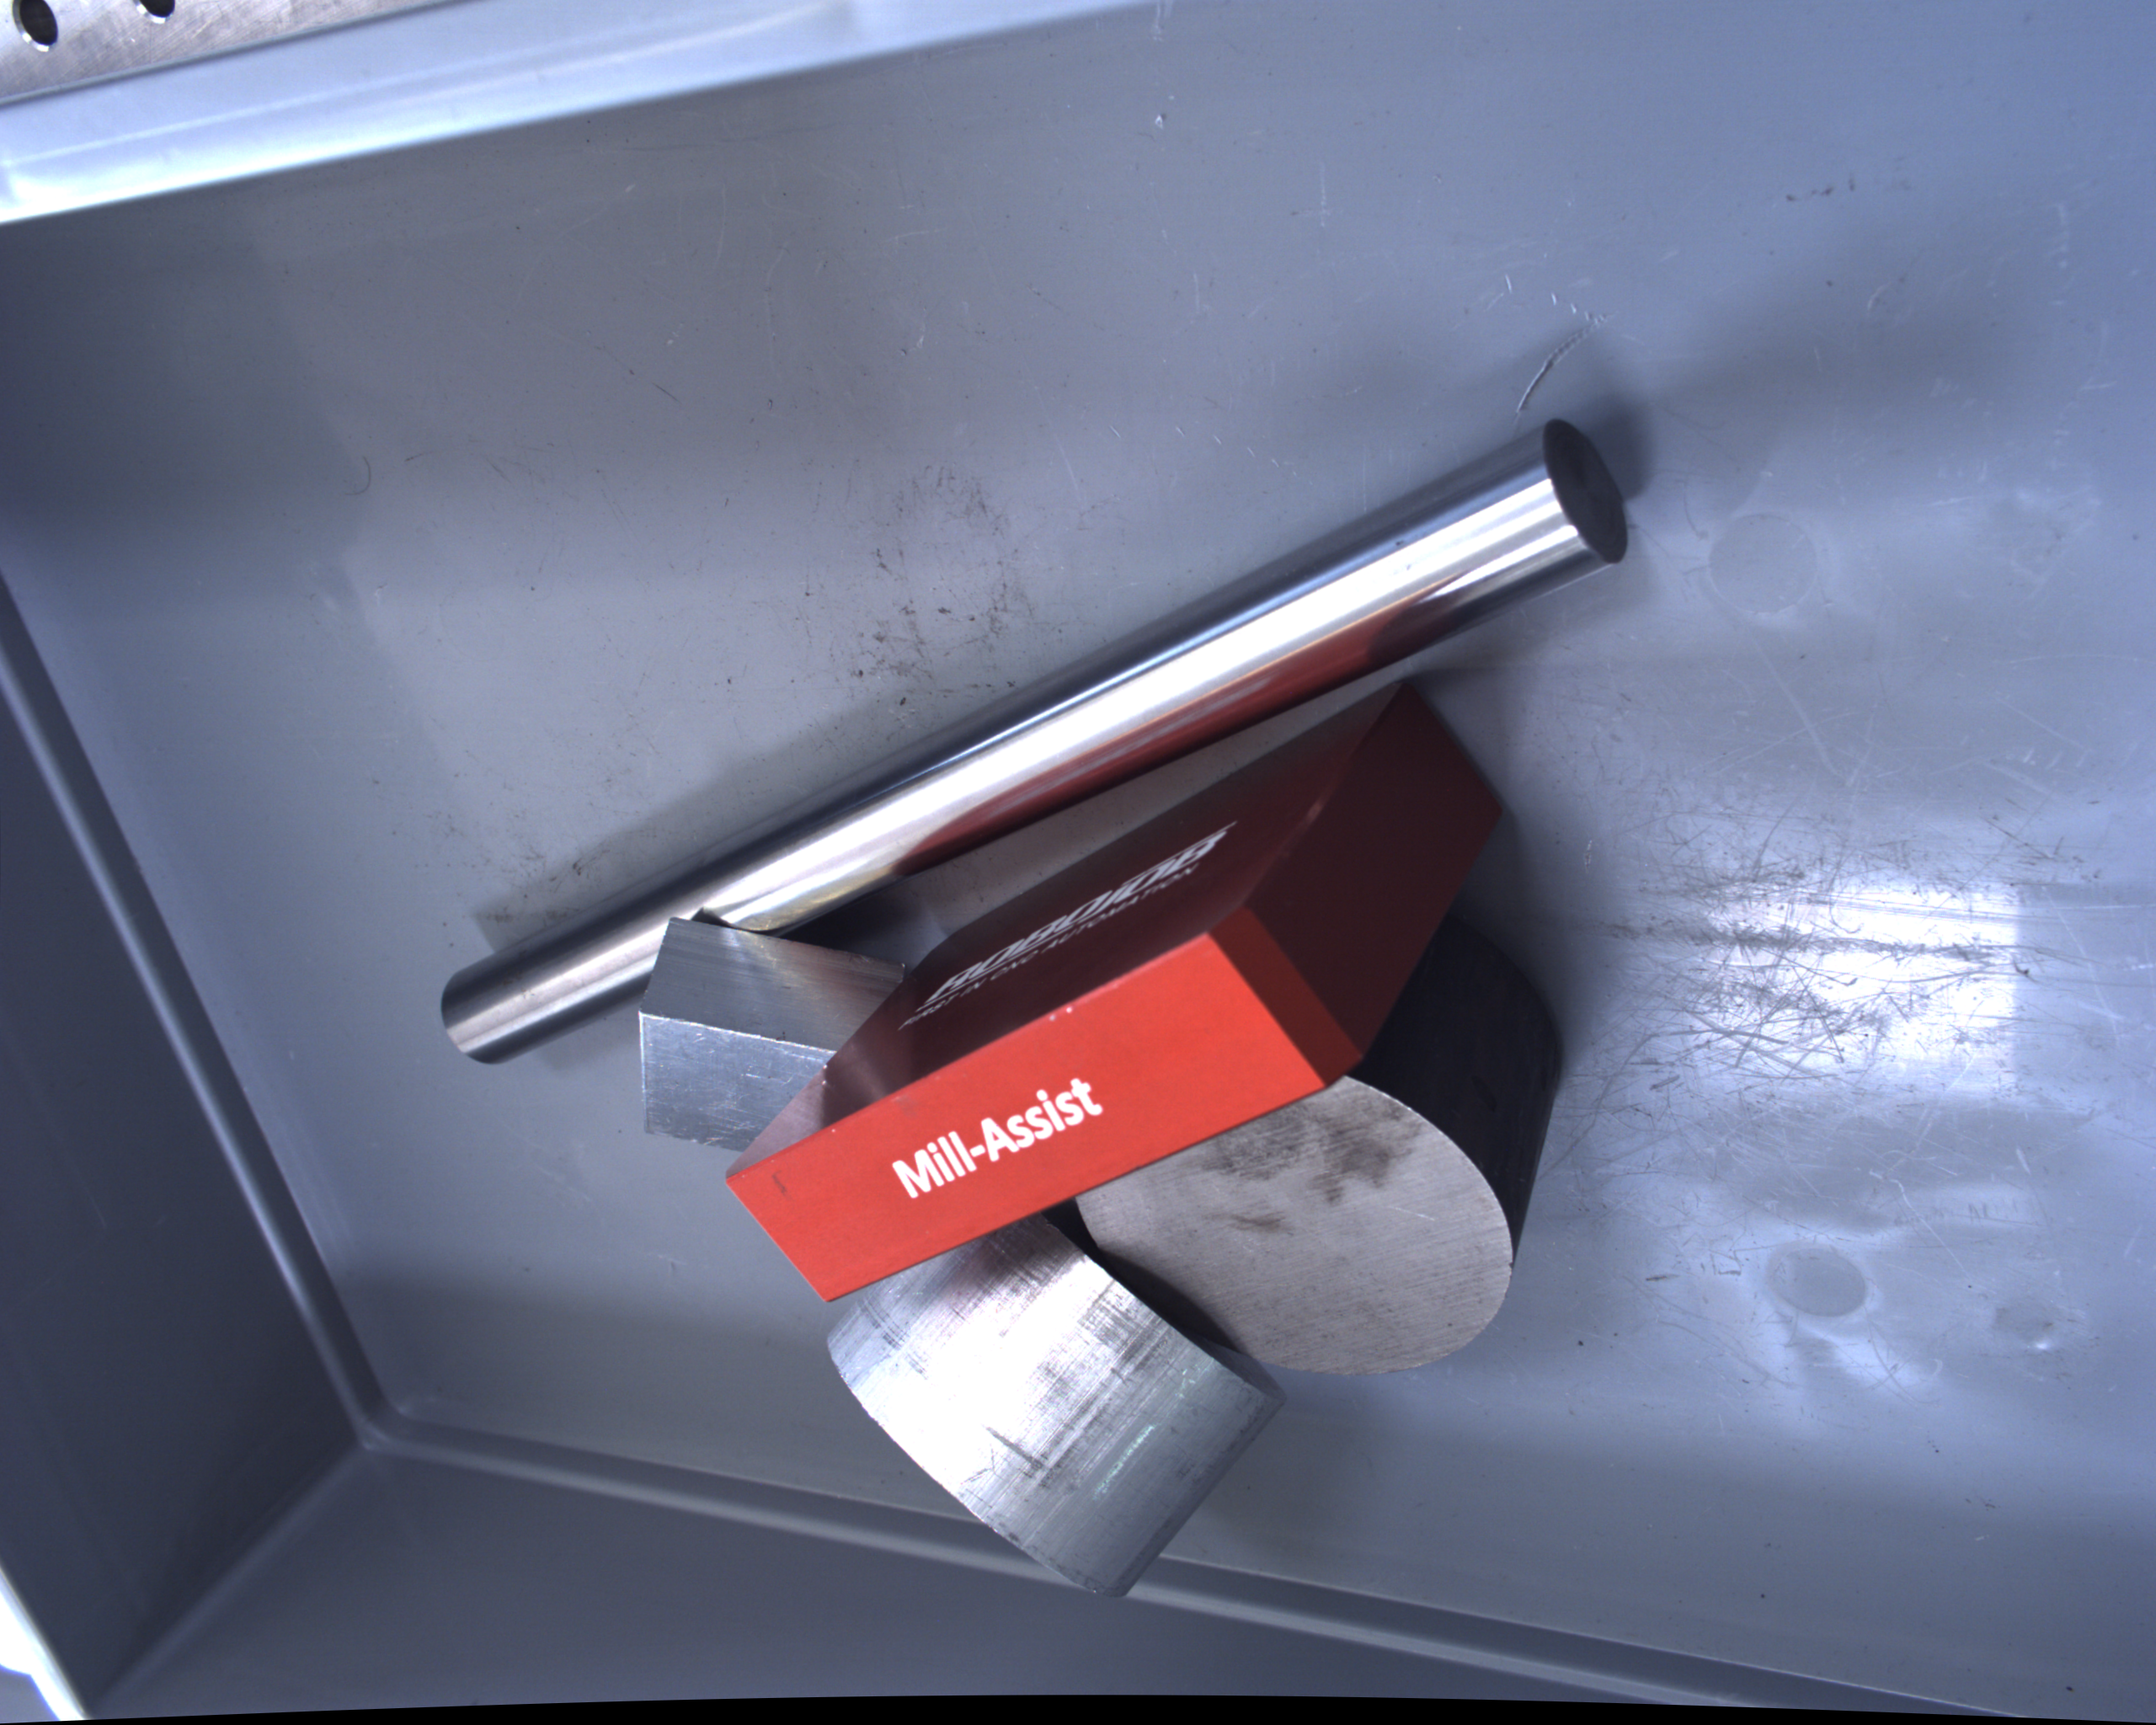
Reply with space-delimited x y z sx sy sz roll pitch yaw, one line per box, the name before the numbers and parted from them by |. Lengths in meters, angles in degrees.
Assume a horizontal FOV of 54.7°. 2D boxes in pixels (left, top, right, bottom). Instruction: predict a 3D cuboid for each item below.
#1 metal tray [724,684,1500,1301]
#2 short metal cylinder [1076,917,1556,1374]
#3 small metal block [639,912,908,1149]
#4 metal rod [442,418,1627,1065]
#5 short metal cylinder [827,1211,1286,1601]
metal tray | 0.005 0.024 0.377 0.130 0.090 0.030 -30 102 37
short metal cylinder | 0.045 0.050 0.391 0.080 0.050 0.079 12 131 14
small metal block | -0.066 0.040 0.449 0.050 0.025 0.050 12 142 -1
metal rod | -0.031 -0.011 0.416 0.299 0.025 0.025 -23 106 36
short metal cylinder | -0.004 0.104 0.428 0.080 0.080 0.050 40 88 0
